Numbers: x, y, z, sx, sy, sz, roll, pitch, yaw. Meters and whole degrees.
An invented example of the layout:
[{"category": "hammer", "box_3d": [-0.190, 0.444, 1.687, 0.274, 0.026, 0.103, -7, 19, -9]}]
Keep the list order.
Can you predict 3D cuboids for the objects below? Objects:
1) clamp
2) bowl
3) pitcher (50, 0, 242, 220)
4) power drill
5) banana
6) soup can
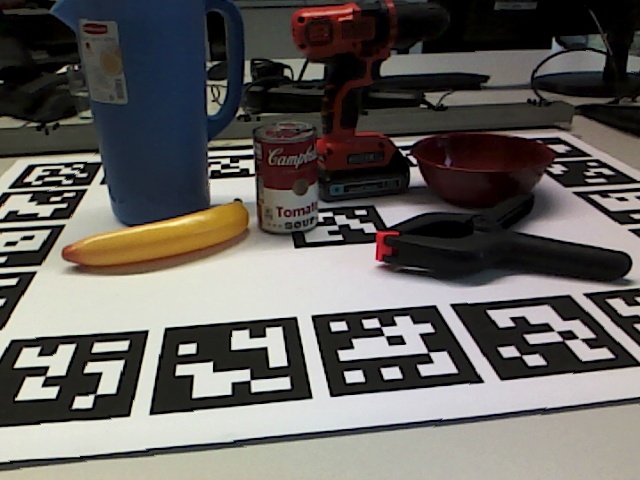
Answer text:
[{"category": "clamp", "box_3d": [0.147, -0.010, 0.576, 0.202, 0.036, 0.166, -6, 31, -9]}, {"category": "bowl", "box_3d": [0.181, -0.088, 0.722, 0.161, 0.055, 0.162, -1, 28, 0]}, {"category": "pitcher", "box_3d": [-0.167, -0.152, 0.658, 0.188, 0.242, 0.134, -17, 28, -29]}, {"category": "power drill", "box_3d": [0.063, -0.180, 0.722, 0.184, 0.186, 0.057, -6, 28, -12]}, {"category": "banana", "box_3d": [-0.152, -0.009, 0.606, 0.196, 0.039, 0.075, -16, 22, -30]}, {"category": "soup can", "box_3d": [-0.038, -0.071, 0.650, 0.068, 0.102, 0.068, -3, 19, 0]}]
